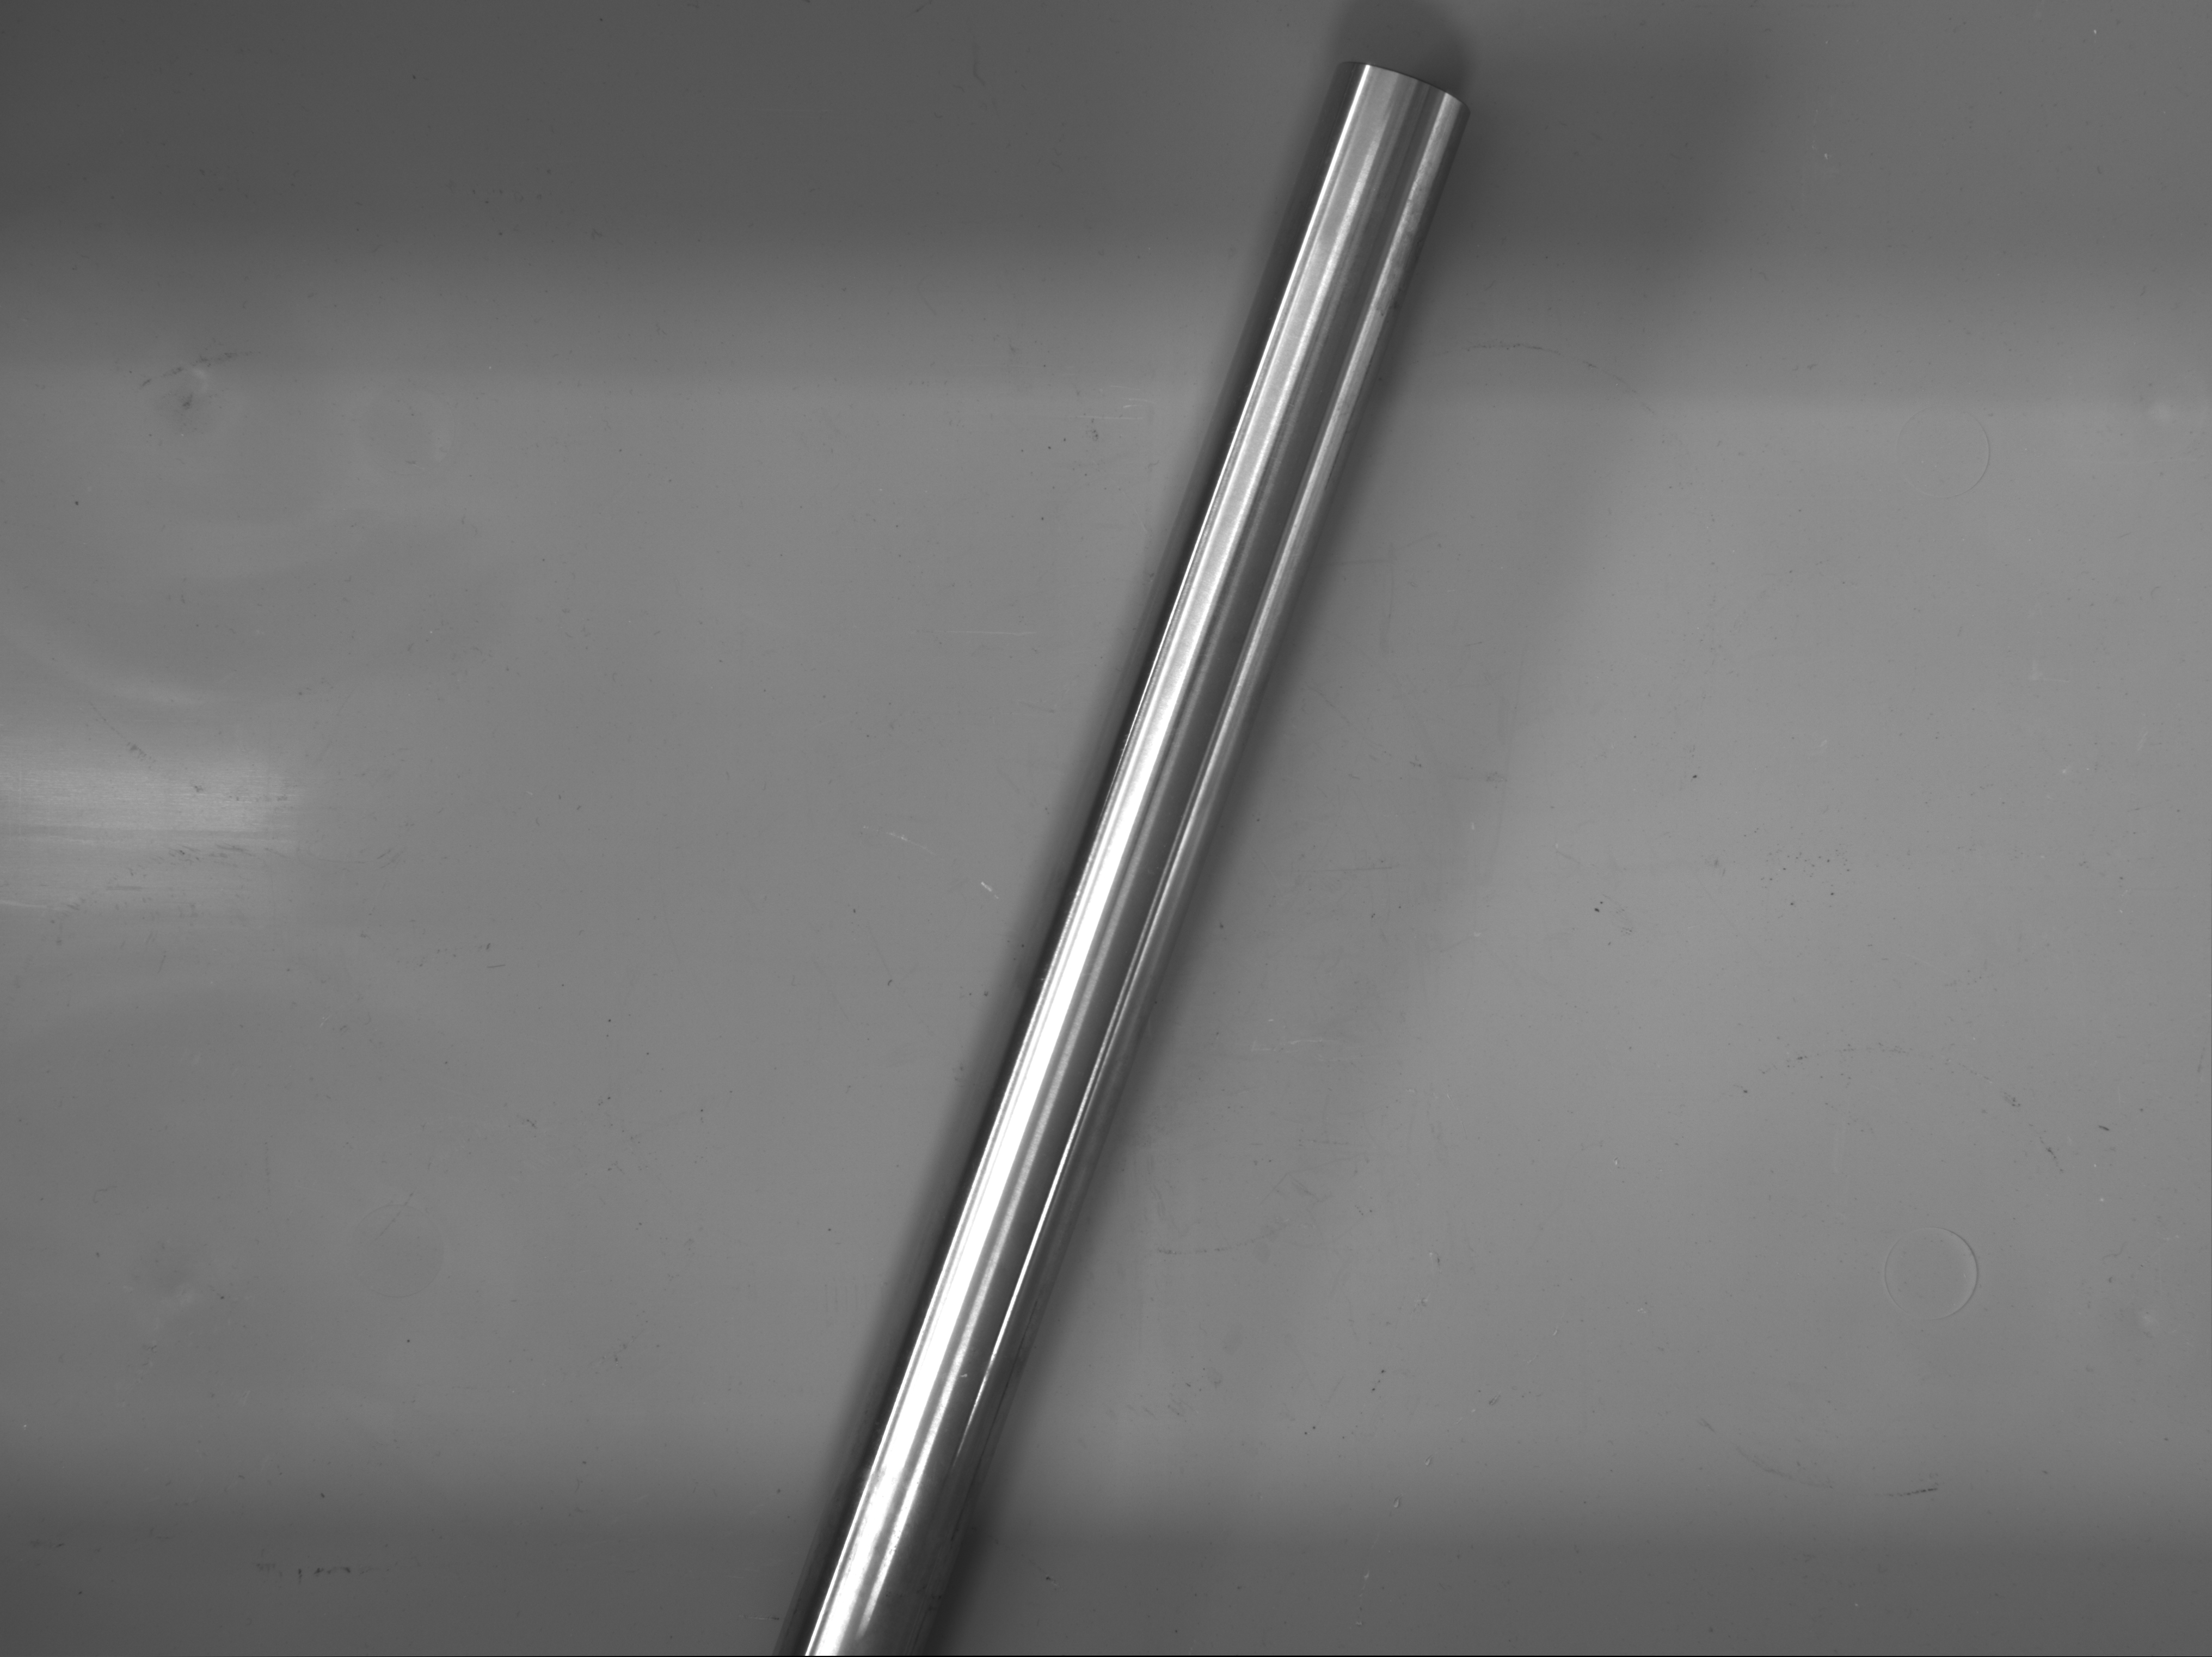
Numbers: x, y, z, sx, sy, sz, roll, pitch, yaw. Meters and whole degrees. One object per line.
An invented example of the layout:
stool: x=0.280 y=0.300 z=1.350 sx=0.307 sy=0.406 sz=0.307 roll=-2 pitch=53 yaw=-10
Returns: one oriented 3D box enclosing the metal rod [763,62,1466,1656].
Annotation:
metal rod: x=0.001 y=0.012 z=0.644 sx=0.025 sy=0.025 sz=0.300 roll=20 pitch=90 yaw=0
